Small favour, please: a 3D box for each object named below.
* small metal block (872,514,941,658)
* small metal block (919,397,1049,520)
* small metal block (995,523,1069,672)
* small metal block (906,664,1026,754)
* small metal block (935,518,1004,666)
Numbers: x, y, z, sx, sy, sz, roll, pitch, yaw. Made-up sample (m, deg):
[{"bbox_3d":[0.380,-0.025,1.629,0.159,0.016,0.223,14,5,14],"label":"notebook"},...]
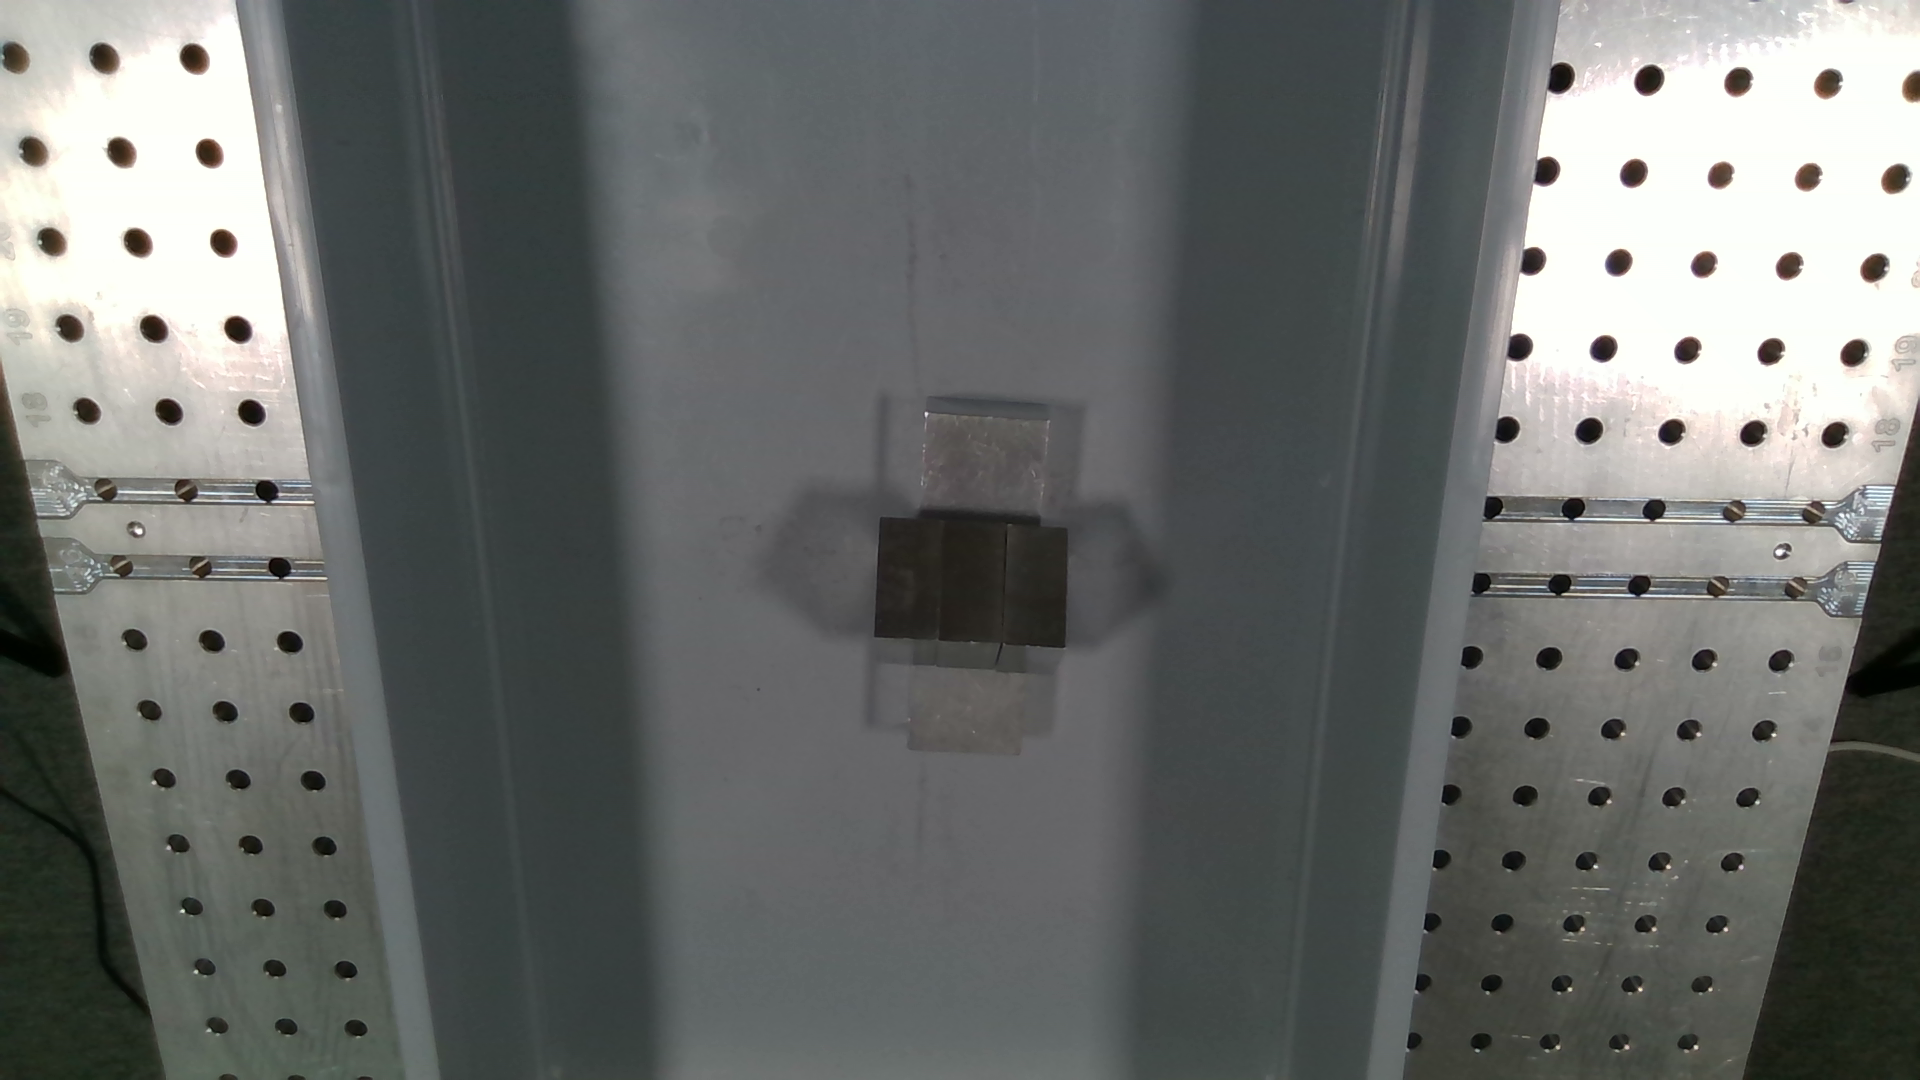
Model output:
[{"bbox_3d":[-0.022,0.021,0.567,0.025,0.050,0.050,2,74,-1],"label":"small metal block"},{"bbox_3d":[0.009,-0.031,0.572,0.050,0.025,0.050,3,110,-1],"label":"small metal block"},{"bbox_3d":[0.029,0.025,0.568,0.025,0.050,0.050,3,74,-2],"label":"small metal block"},{"bbox_3d":[0.003,0.065,0.608,0.050,0.025,0.050,3,110,-1],"label":"small metal block"},{"bbox_3d":[0.003,0.023,0.568,0.025,0.050,0.050,2,74,-1],"label":"small metal block"}]
